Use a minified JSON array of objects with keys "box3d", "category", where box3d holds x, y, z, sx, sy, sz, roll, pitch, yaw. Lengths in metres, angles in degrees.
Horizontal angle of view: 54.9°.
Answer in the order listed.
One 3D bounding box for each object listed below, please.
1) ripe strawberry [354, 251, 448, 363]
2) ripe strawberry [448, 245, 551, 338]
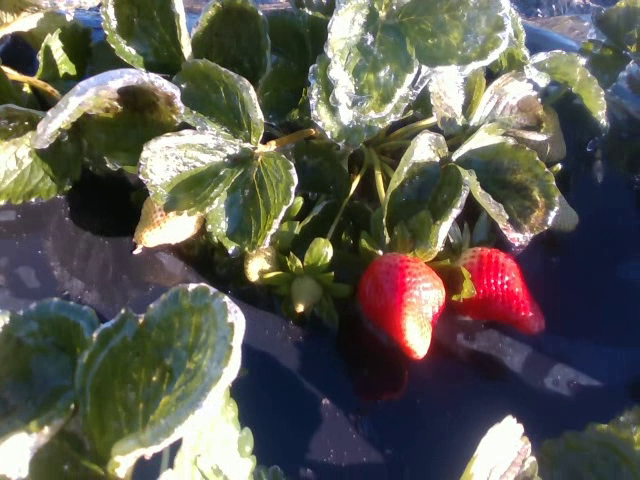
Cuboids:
[{"box3d":[0.051,0.038,0.327,0.052,0.070,0.040,15,-34,-22],"category":"ripe strawberry"},{"box3d":[0.103,0.026,0.340,0.043,0.059,0.040,-37,-11,-29],"category":"ripe strawberry"}]
